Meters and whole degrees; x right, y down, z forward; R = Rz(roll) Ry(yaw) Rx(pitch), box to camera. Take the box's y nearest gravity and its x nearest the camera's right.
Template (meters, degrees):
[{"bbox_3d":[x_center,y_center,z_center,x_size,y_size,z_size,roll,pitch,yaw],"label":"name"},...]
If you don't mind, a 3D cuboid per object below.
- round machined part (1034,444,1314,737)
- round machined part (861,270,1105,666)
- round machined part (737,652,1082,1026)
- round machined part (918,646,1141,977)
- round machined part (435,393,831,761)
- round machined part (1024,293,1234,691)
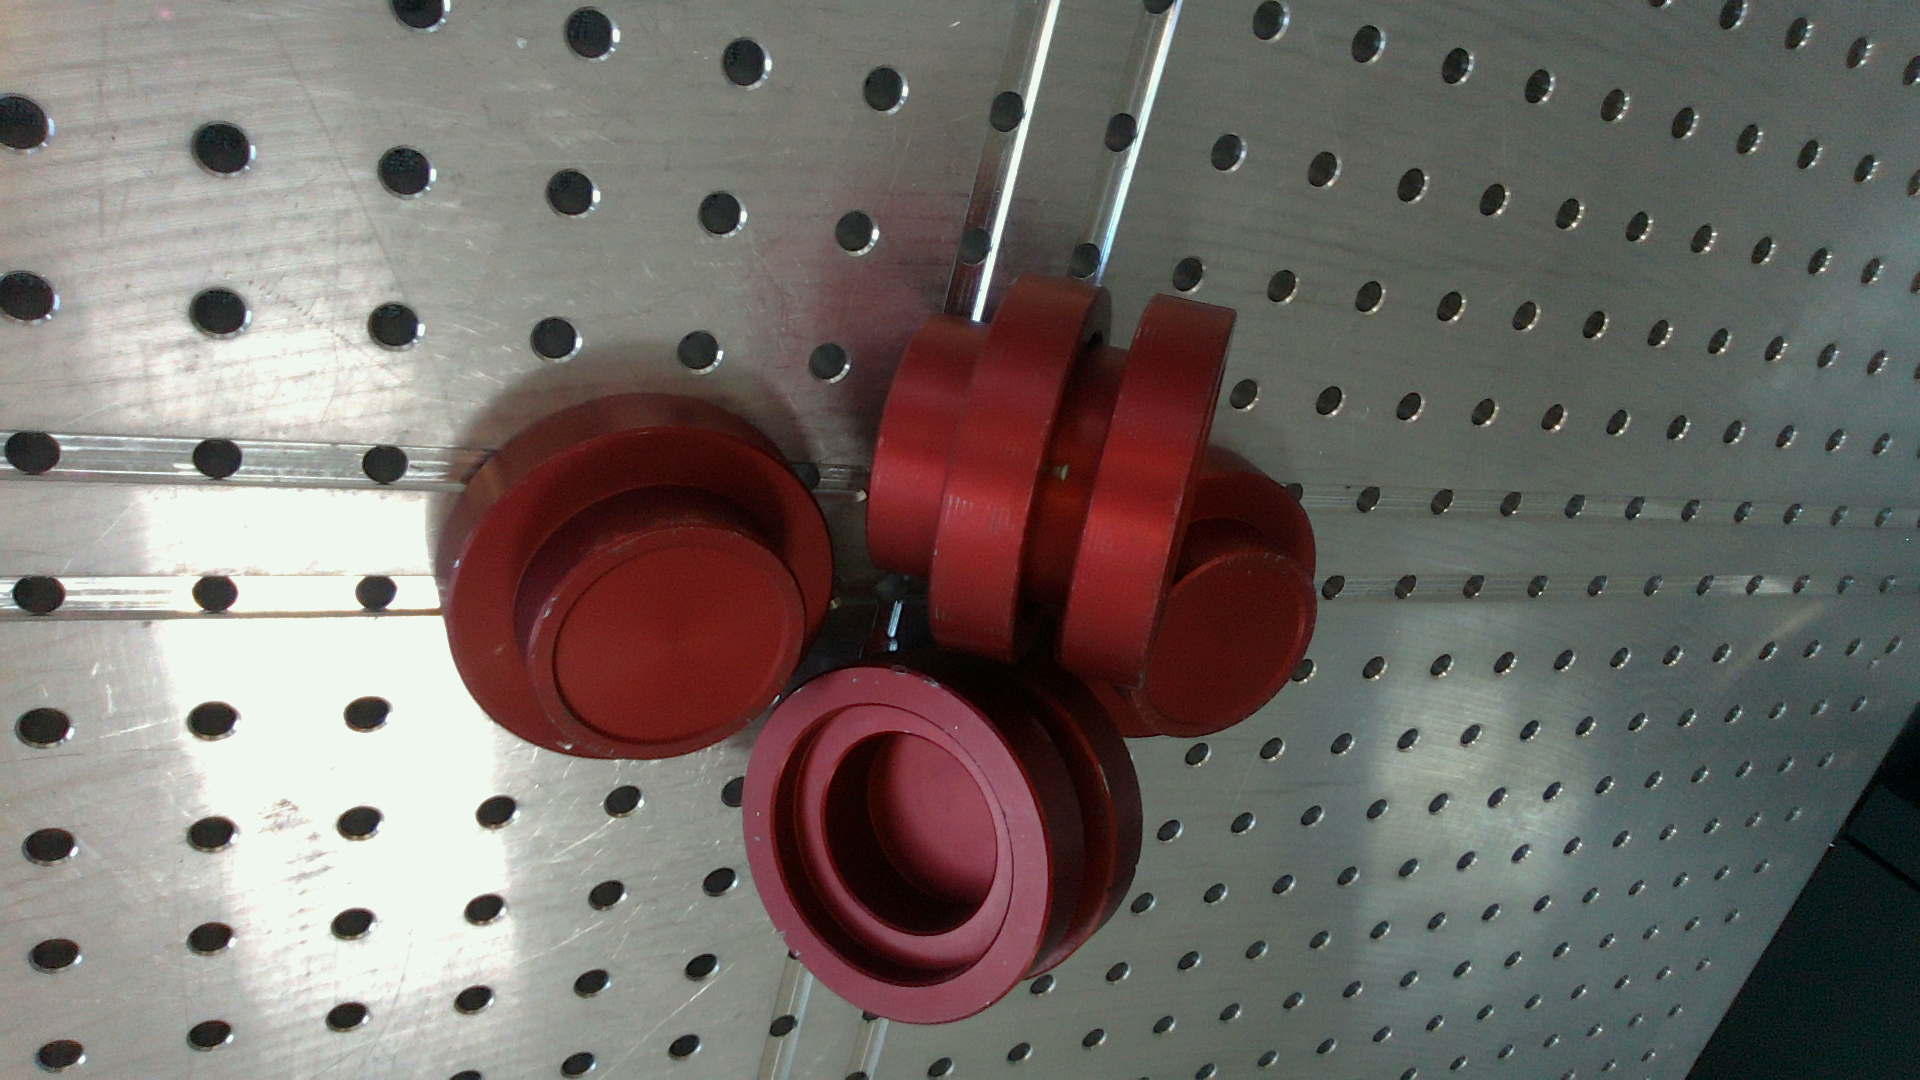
[{"bbox_3d":[0.071,0.022,0.434,0.098,0.042,0.098,-14,124,-21],"label":"round machined part"},{"bbox_3d":[0.006,-0.020,0.350,0.042,0.098,0.098,14,118,10],"label":"round machined part"},{"bbox_3d":[-0.010,0.079,0.382,0.042,0.098,0.098,-15,132,-60],"label":"round machined part"},{"bbox_3d":[0.008,0.077,0.408,0.042,0.098,0.098,-14,131,-60],"label":"round machined part"},{"bbox_3d":[-0.078,0.016,0.348,0.098,0.042,0.098,-14,124,-21],"label":"round machined part"},{"bbox_3d":[0.037,-0.014,0.348,0.042,0.098,0.098,14,118,10],"label":"round machined part"}]
